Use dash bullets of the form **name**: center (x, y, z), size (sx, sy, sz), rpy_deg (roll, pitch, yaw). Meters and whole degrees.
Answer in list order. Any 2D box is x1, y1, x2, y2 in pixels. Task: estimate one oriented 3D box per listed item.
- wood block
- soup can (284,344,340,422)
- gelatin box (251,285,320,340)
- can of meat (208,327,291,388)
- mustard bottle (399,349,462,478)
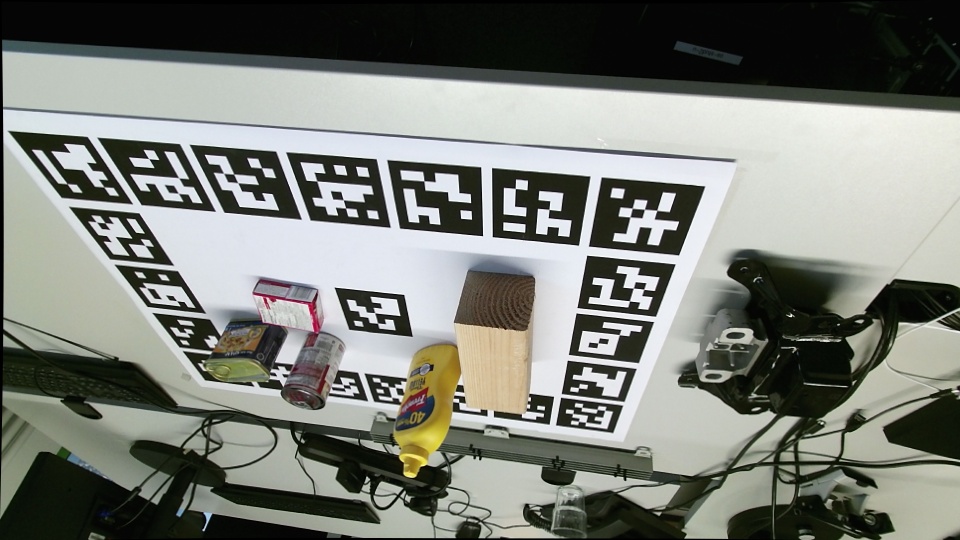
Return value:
- **wood block**: center (0.024, 0.113, 0.730), size (0.091, 0.089, 0.206), rpy_deg (7, 141, 7)
- **soup can**: center (-0.266, 0.175, 0.837), size (0.068, 0.101, 0.068), rpy_deg (6, 135, 6)
- **gelatin box**: center (-0.283, 0.063, 0.782), size (0.090, 0.030, 0.073), rpy_deg (11, 135, -2)
- **can of meat**: center (-0.361, 0.137, 0.845), size (0.102, 0.083, 0.058), rpy_deg (-3, 134, 19)
- **mustard bottle**: center (-0.078, 0.210, 0.787), size (0.096, 0.190, 0.058), rpy_deg (-13, 132, 26)
